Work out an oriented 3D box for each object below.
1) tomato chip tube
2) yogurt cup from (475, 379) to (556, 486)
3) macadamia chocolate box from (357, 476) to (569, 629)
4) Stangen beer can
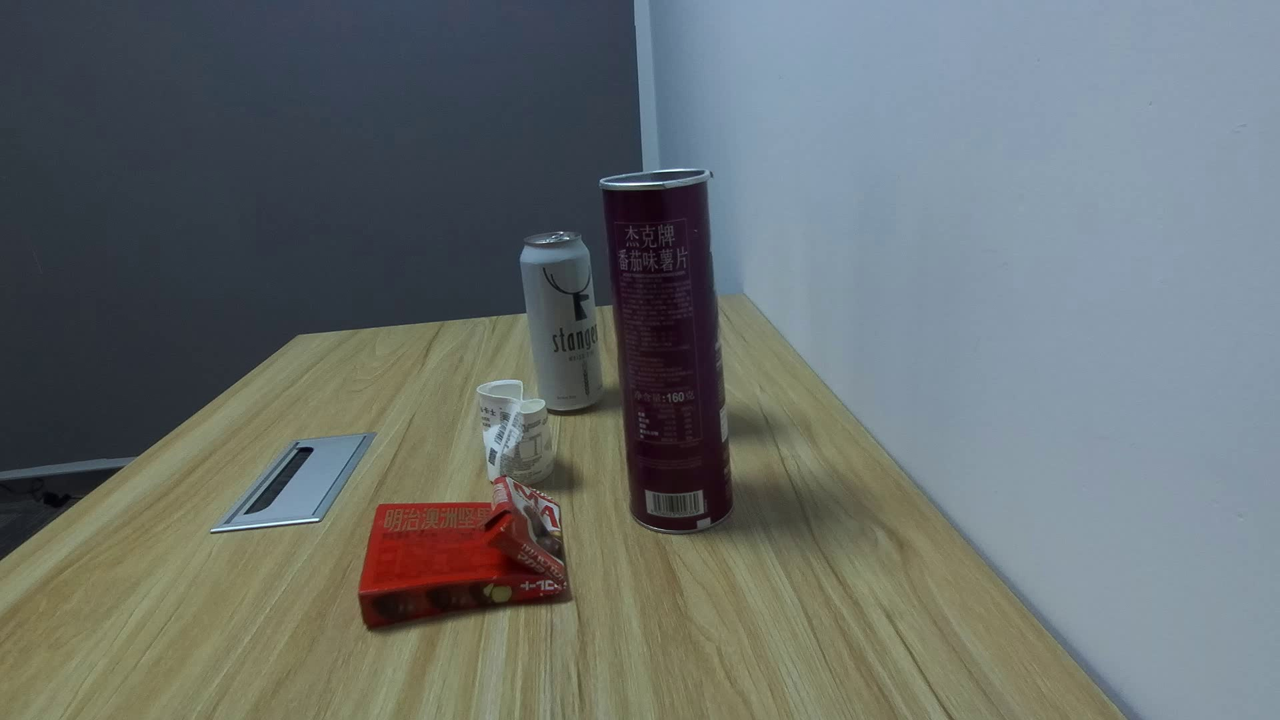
[{"bbox_3d":[0.021,-0.004,0.476,0.080,0.234,0.076,-18,23,-34],"label":"tomato chip tube"},{"bbox_3d":[-0.101,0.059,0.573,0.075,0.071,0.054,4,23,24],"label":"yogurt cup"},{"bbox_3d":[-0.114,0.120,0.468,0.126,0.056,0.112,-10,4,-9],"label":"macadamia chocolate box"},{"bbox_3d":[-0.076,-0.032,0.696,0.067,0.171,0.067,-6,12,2],"label":"Stangen beer can"}]
